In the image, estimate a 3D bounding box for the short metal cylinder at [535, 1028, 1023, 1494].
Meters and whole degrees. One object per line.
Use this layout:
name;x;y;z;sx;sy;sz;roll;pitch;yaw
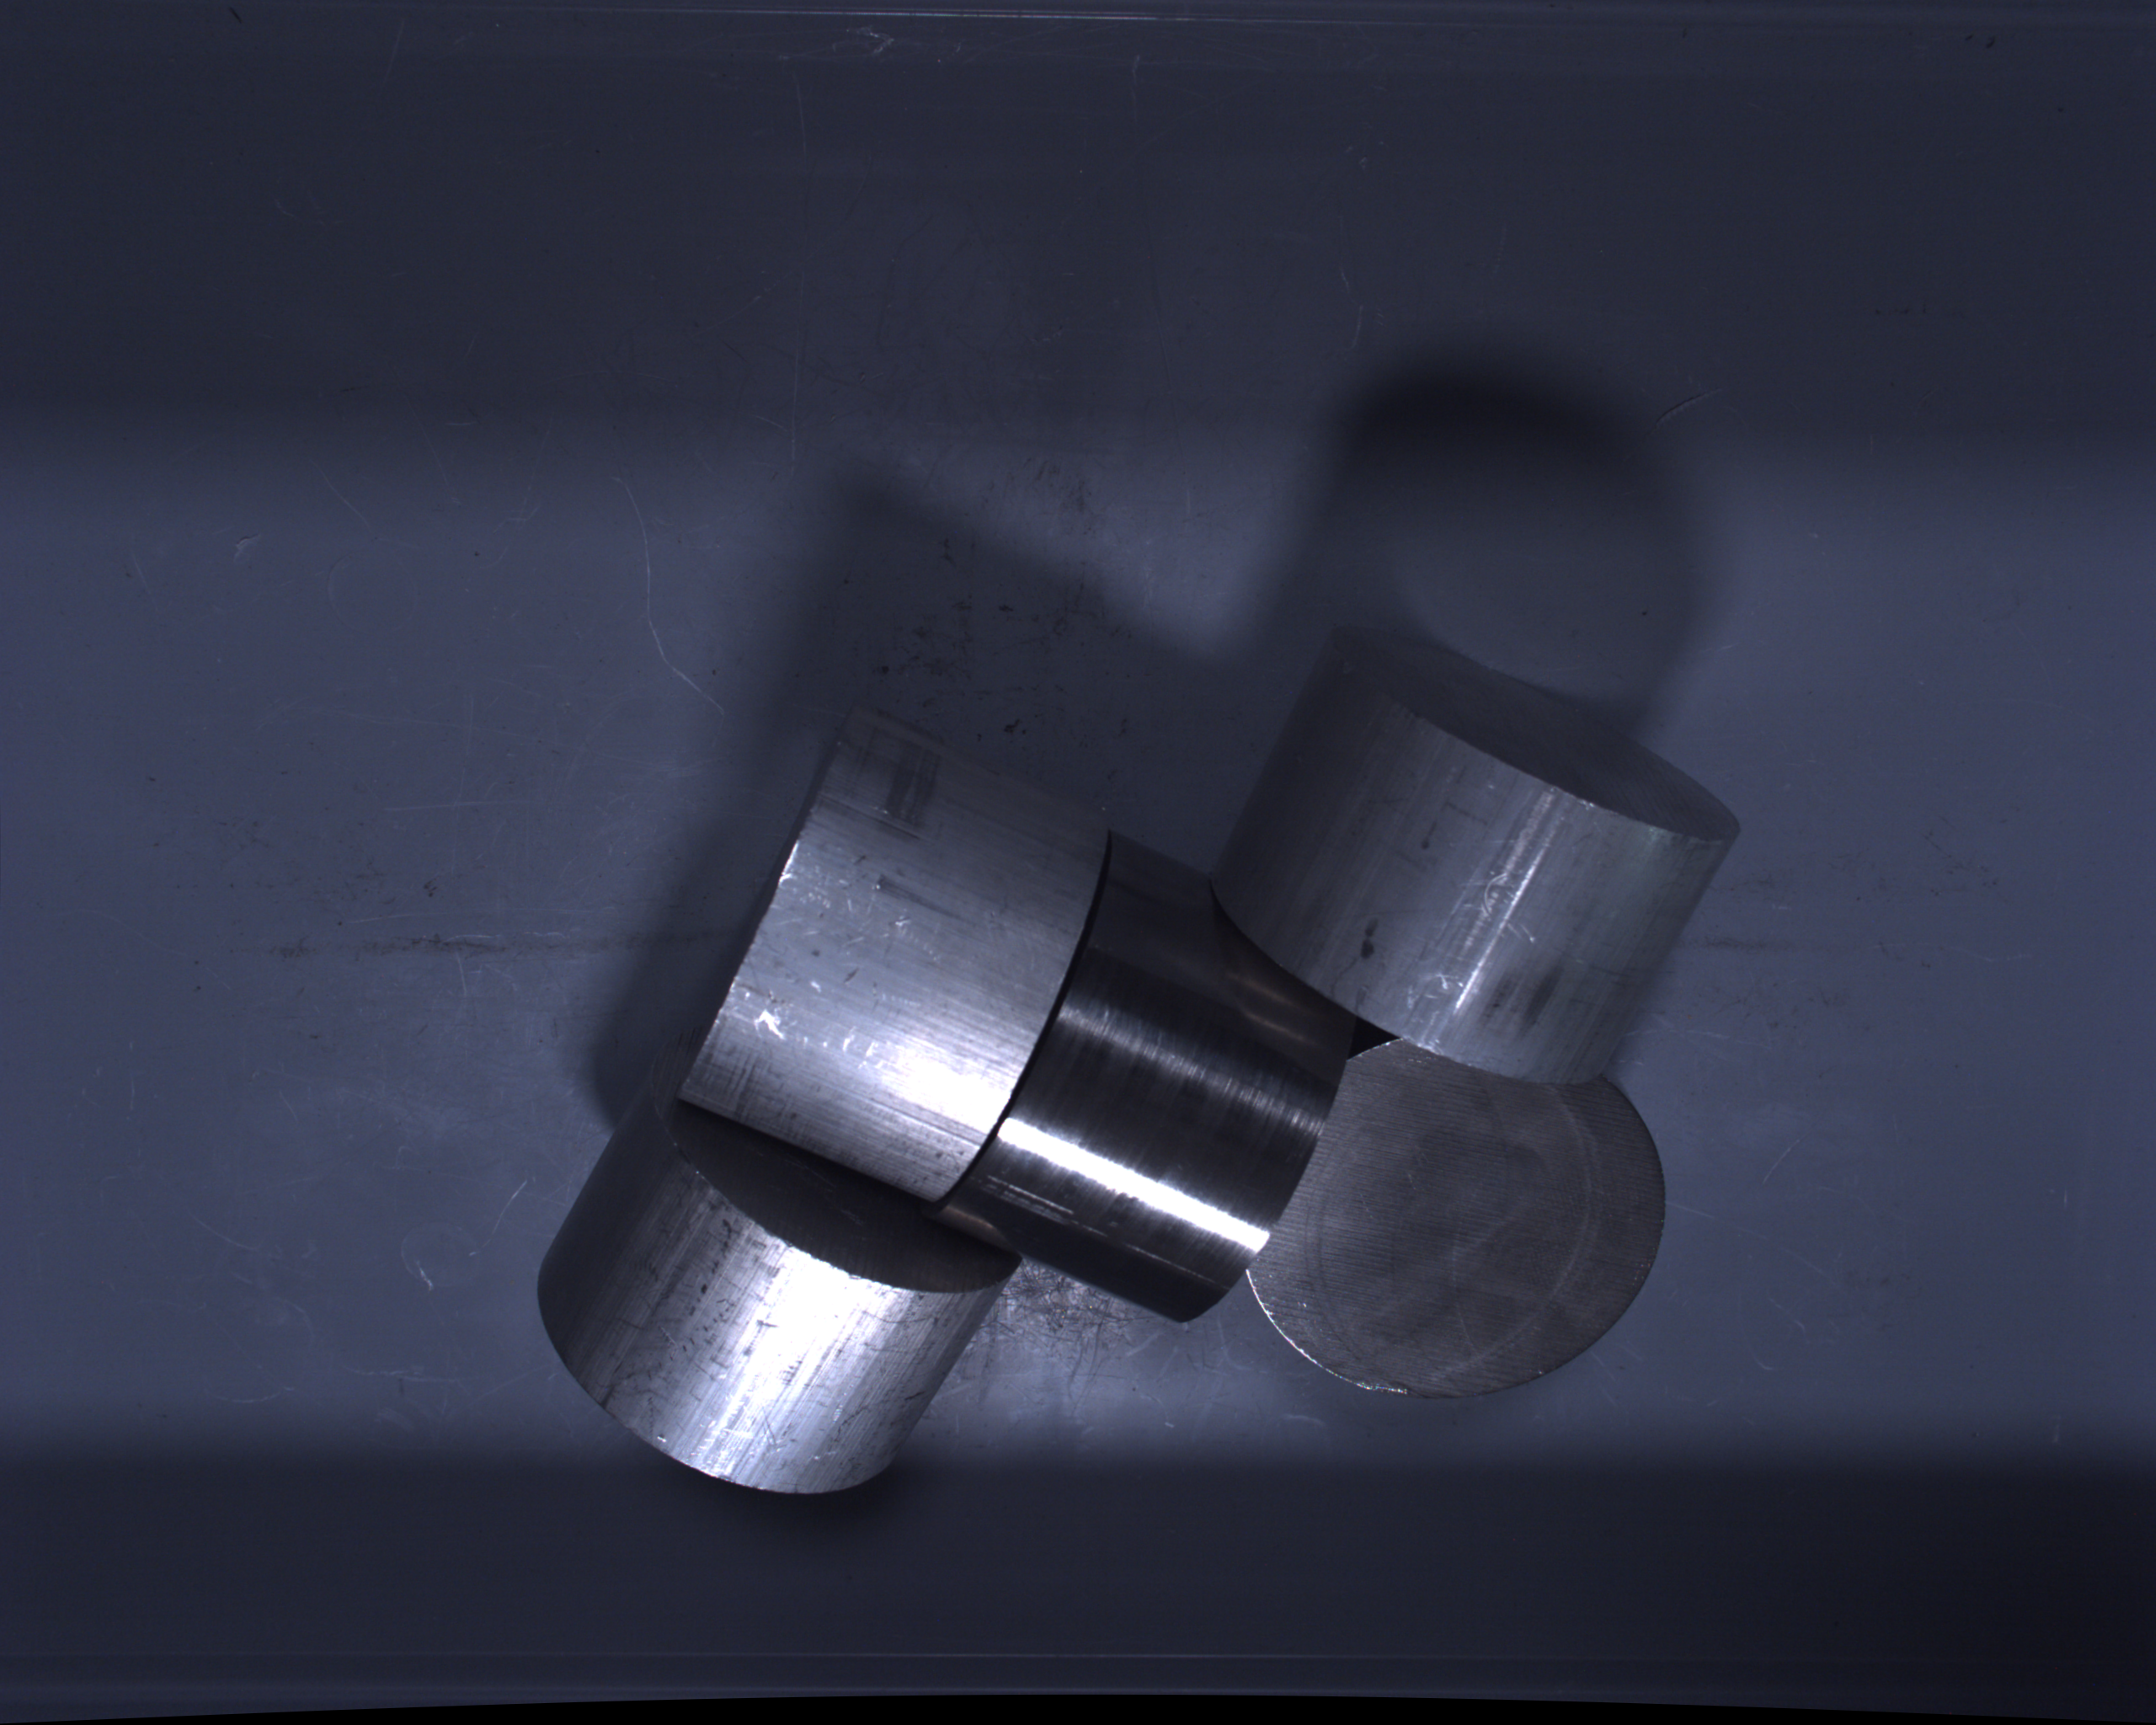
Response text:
short metal cylinder;-0.057;0.075;0.407;0.080;0.080;0.050;28;108;-10

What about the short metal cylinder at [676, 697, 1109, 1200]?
short metal cylinder;-0.034;0.016;0.386;0.050;0.080;0.080;24;108;-9

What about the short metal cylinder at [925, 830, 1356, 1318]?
short metal cylinder;0.011;0.039;0.396;0.050;0.080;0.080;25;108;-9

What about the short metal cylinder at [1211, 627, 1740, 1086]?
short metal cylinder;0.071;-0.003;0.380;0.080;0.080;0.050;22;109;-8

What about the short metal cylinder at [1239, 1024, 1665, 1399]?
short metal cylinder;0.071;0.059;0.419;0.081;0.050;0.079;0;110;-1
